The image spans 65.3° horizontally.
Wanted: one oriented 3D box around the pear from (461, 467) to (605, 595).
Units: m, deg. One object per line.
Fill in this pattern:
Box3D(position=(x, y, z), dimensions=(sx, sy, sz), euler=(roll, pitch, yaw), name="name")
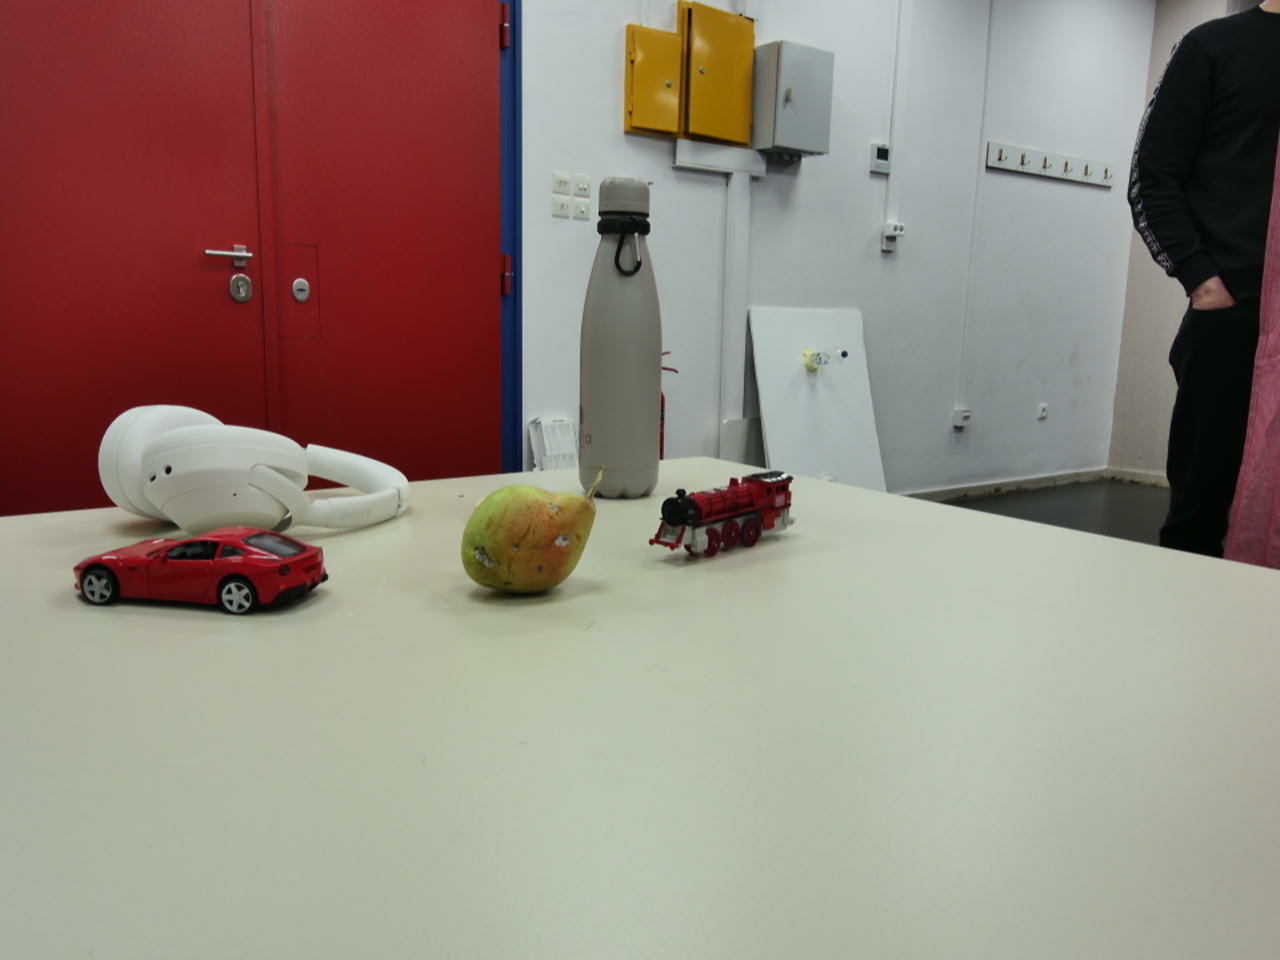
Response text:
Box3D(position=(-0.064, 0.031, 0.573), dimensions=(0.070, 0.069, 0.068), euler=(3, 8, 15), name="pear")
